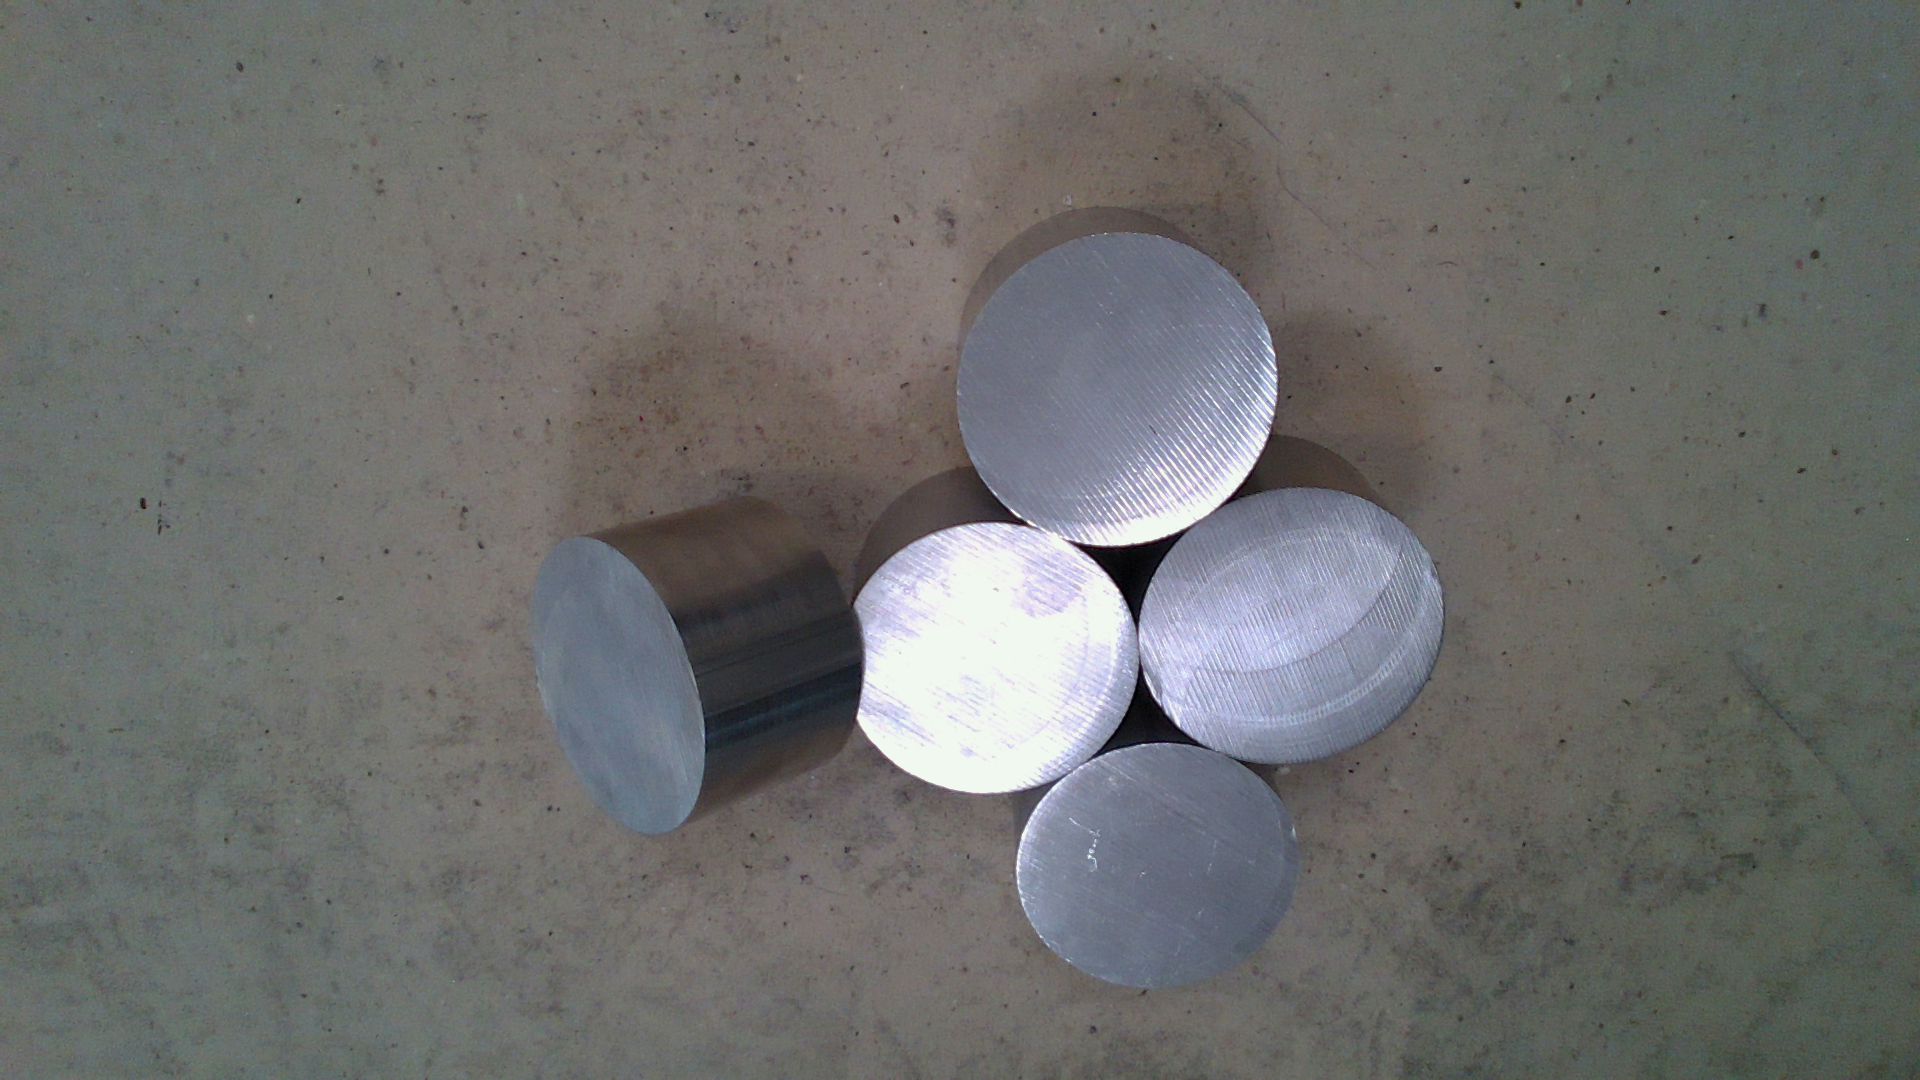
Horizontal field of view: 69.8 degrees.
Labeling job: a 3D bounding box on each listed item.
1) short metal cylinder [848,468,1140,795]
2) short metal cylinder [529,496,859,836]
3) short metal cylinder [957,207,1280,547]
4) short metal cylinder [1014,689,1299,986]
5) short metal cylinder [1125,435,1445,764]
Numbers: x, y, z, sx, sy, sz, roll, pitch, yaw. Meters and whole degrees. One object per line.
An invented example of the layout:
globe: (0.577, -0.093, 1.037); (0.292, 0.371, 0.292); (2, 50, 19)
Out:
short metal cylinder: (0.008, 0.024, 0.390); (0.080, 0.050, 0.080); (0, 110, 0)
short metal cylinder: (-0.073, 0.032, 0.370); (0.080, 0.050, 0.080); (17, 115, 42)
short metal cylinder: (0.039, -0.044, 0.364); (0.080, 0.050, 0.080); (0, 110, 0)
short metal cylinder: (0.056, 0.084, 0.412); (0.080, 0.050, 0.080); (0, 110, 0)
short metal cylinder: (0.088, 0.015, 0.387); (0.080, 0.050, 0.080); (0, 110, 0)
